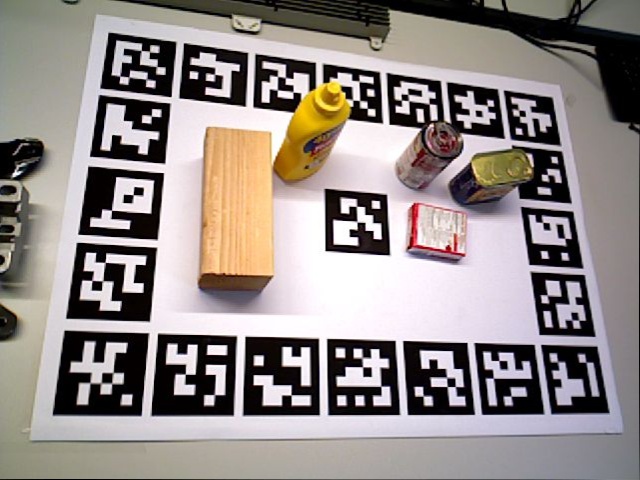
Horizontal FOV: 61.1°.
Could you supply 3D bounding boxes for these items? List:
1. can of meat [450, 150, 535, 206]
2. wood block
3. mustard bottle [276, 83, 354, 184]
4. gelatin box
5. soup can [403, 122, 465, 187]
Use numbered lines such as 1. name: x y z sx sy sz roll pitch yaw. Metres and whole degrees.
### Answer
1. can of meat: 0.263 -0.095 0.838 0.100 0.085 0.057 -10 74 -20
2. wood block: -0.109 -0.037 0.720 0.090 0.092 0.204 5 66 -15
3. mustard bottle: -0.006 -0.146 0.733 0.094 0.195 0.058 -22 76 -23
4. gelatin box: 0.186 -0.004 0.811 0.089 0.030 0.072 13 71 -7
5. soup can: 0.173 -0.129 0.807 0.067 0.104 0.067 4 71 -13
